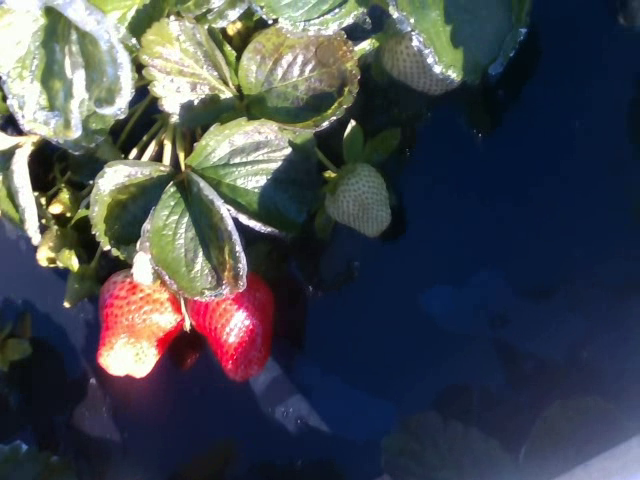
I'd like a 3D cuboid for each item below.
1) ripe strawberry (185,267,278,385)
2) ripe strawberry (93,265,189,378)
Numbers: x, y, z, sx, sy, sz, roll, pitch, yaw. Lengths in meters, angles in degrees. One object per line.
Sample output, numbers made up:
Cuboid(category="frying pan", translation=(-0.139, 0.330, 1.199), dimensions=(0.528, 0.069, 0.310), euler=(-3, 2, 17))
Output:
Cuboid(category="ripe strawberry", translation=(-0.048, 0.044, 0.310), dimensions=(0.043, 0.059, 0.040), euler=(-36, -2, 17))
Cuboid(category="ripe strawberry", translation=(-0.097, 0.050, 0.333), dimensions=(0.052, 0.070, 0.040), euler=(10, 8, 3))
